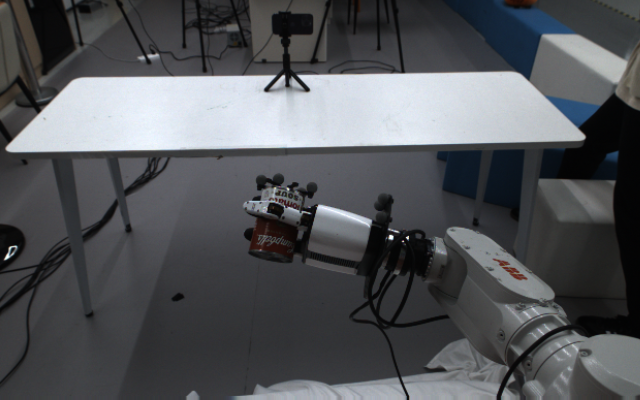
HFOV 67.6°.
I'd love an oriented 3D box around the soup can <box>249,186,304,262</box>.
[{"bbox_3d":[-0.063,0.037,0.722,0.067,0.067,0.101,8,72,9],"label":"soup can"}]
